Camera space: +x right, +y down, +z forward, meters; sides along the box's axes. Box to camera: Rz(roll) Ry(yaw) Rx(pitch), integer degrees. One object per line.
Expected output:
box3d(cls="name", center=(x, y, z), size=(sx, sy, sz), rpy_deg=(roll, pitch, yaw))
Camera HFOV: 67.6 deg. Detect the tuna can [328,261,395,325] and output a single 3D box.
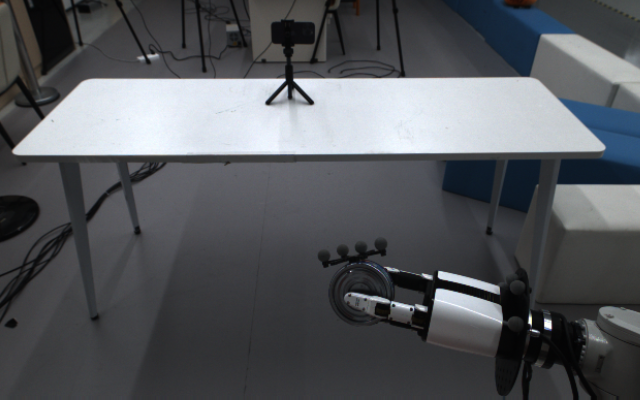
box3d(cls="tuna can", center=(0.058, 0.122, 0.646), size=(0.085, 0.085, 0.034), rpy_deg=(12, 3, 14))
